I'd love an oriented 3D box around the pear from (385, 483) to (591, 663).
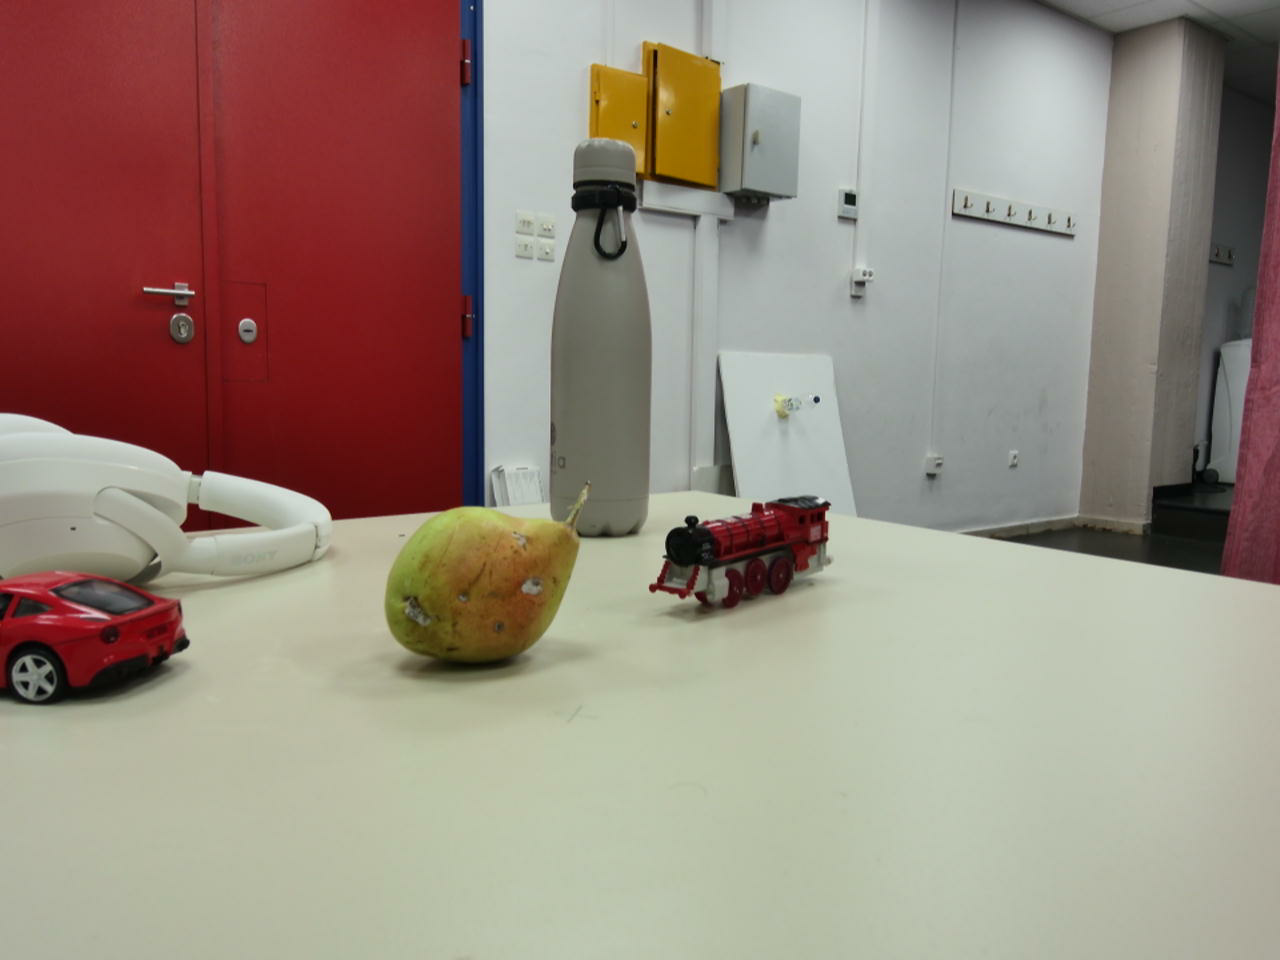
[{"bbox_3d":[-0.062,0.038,0.401,0.070,0.069,0.068,1,4,13],"label":"pear"}]
